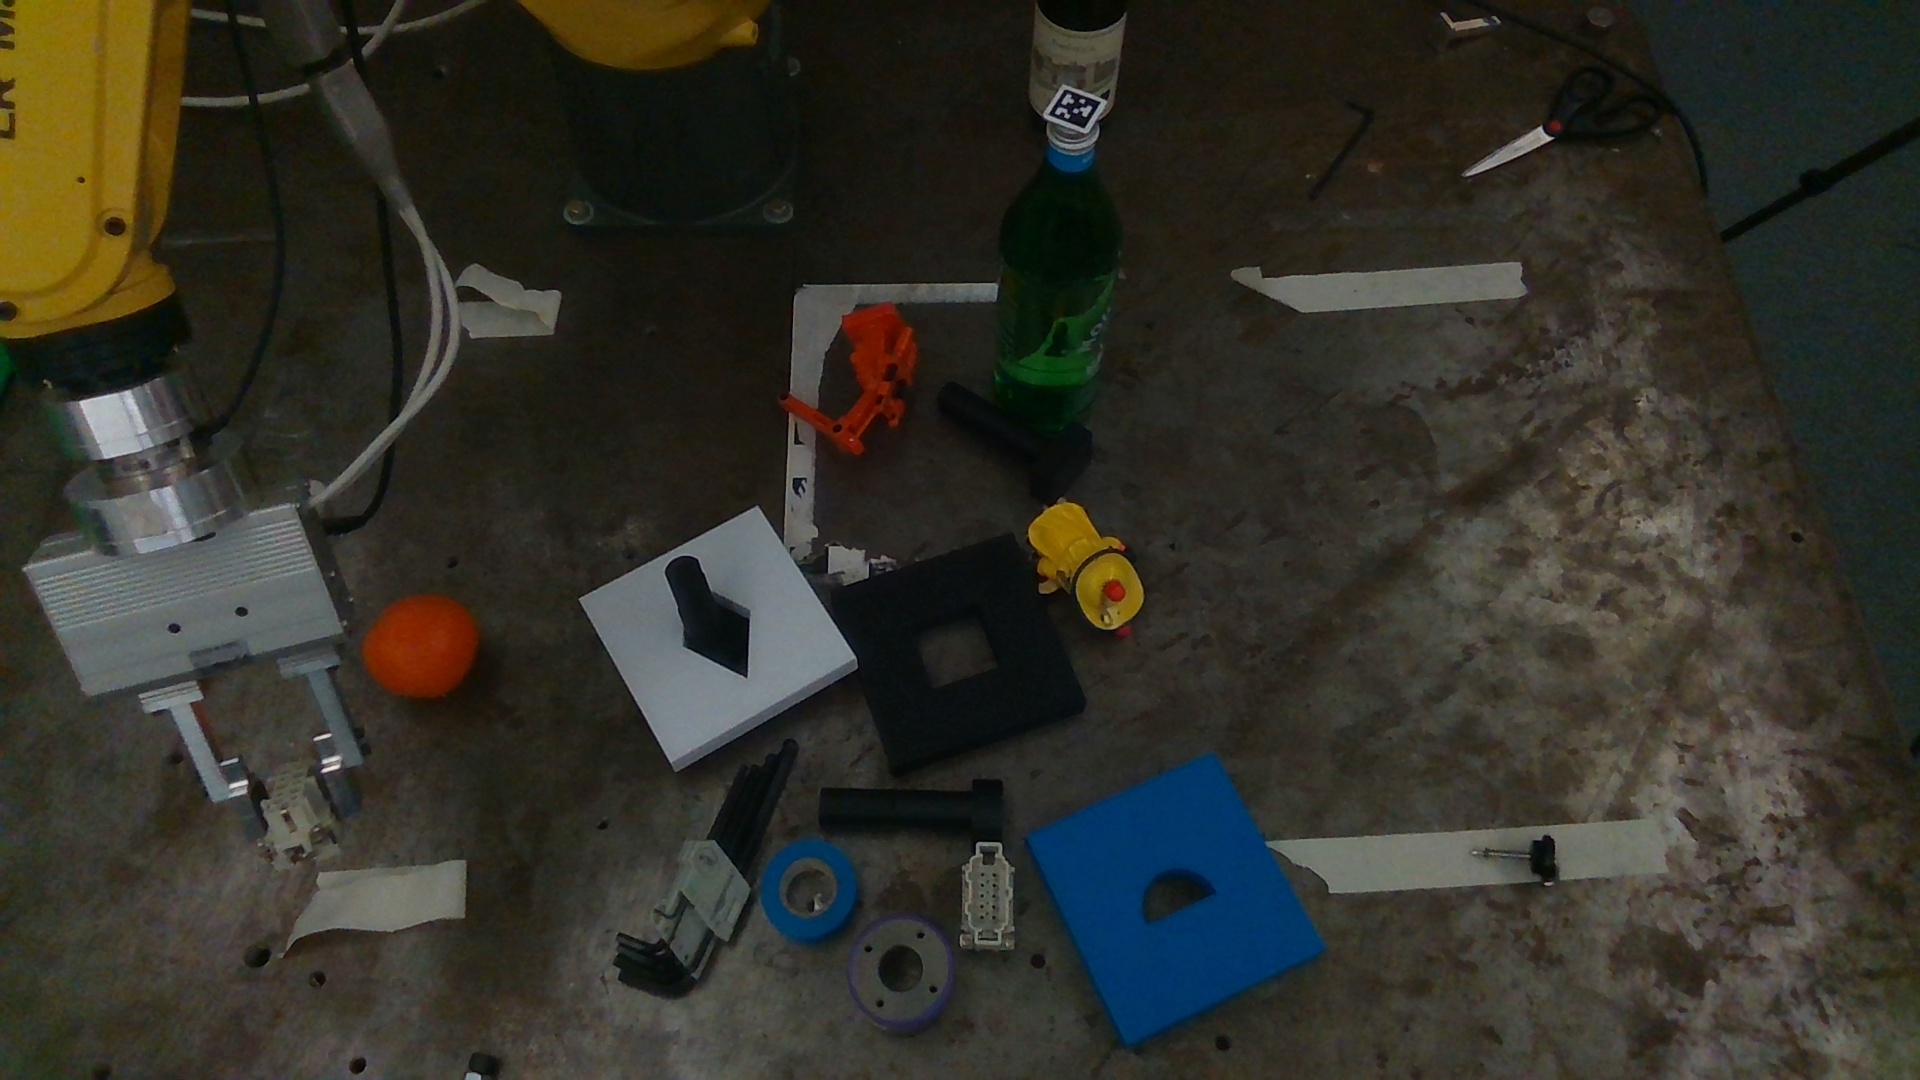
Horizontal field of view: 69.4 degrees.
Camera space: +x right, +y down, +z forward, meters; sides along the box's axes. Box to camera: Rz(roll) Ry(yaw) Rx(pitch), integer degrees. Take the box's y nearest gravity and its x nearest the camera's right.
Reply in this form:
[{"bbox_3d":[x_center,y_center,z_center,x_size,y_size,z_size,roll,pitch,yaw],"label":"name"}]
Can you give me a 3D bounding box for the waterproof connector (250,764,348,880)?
[{"bbox_3d":[-0.352,0.147,0.738,0.036,0.038,0.069,-20,27,-8],"label":"waterproof connector"}]
